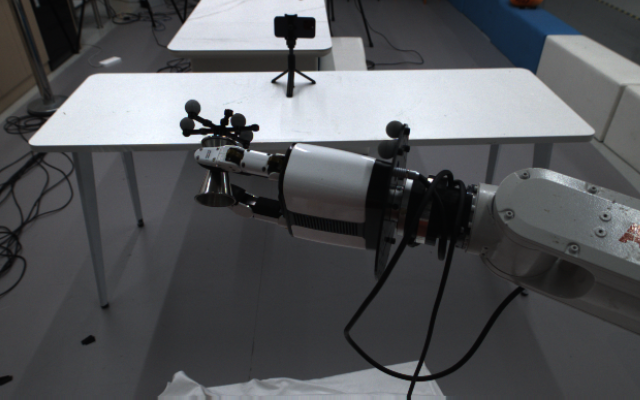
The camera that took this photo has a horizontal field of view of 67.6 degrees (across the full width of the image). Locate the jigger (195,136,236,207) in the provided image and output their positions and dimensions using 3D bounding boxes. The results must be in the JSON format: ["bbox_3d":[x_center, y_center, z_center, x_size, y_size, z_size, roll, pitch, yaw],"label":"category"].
[{"bbox_3d":[-0.111,-0.032,0.528,0.043,0.043,0.071,1,70,-2],"label":"jigger"}]
